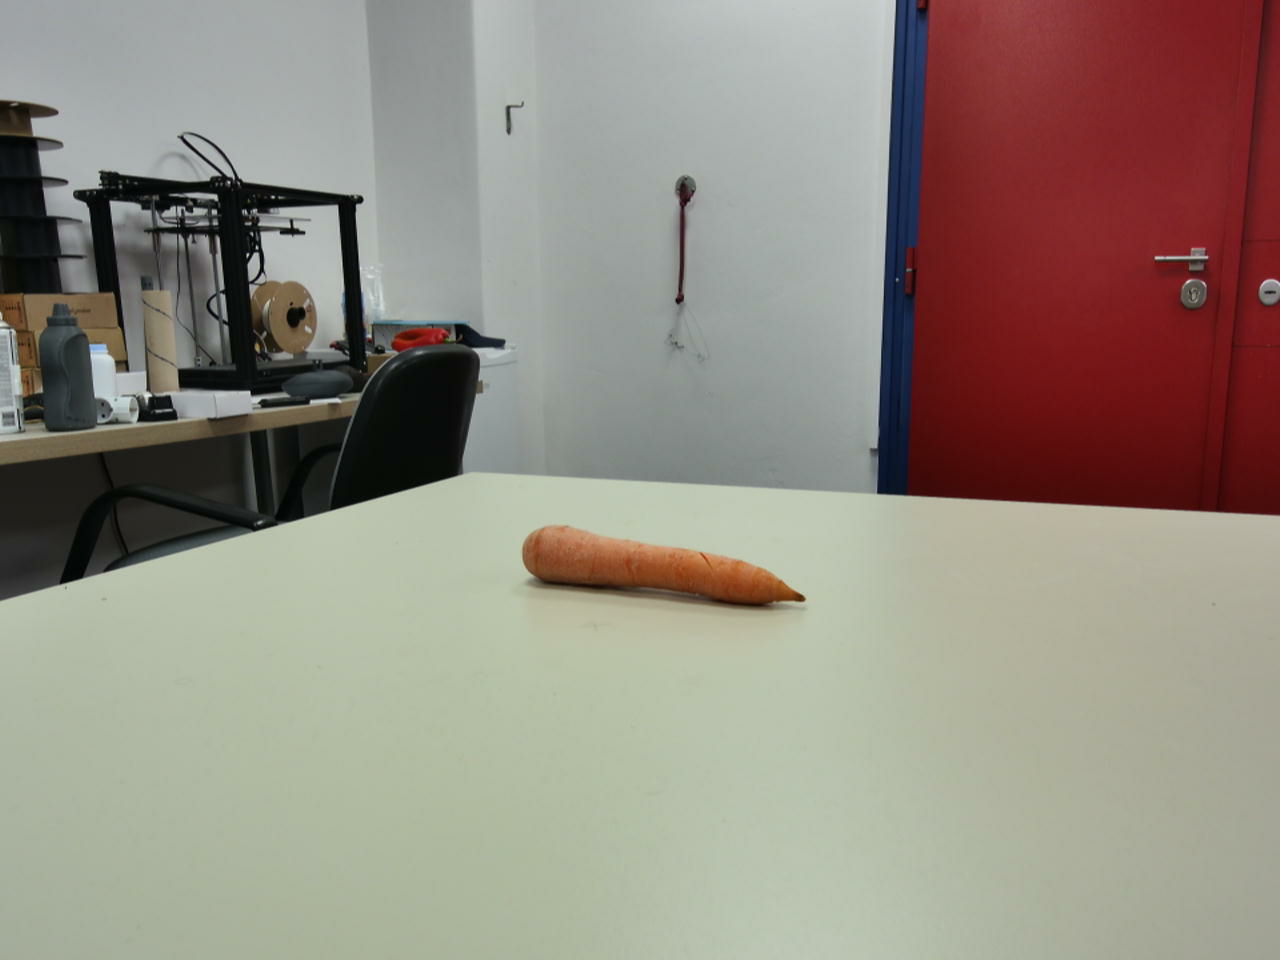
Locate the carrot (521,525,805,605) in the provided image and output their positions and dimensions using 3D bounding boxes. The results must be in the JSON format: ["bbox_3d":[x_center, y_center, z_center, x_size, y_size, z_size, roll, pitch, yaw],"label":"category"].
[{"bbox_3d":[0.012,0.054,0.648,0.196,0.041,0.039,3,8,23],"label":"carrot"}]
